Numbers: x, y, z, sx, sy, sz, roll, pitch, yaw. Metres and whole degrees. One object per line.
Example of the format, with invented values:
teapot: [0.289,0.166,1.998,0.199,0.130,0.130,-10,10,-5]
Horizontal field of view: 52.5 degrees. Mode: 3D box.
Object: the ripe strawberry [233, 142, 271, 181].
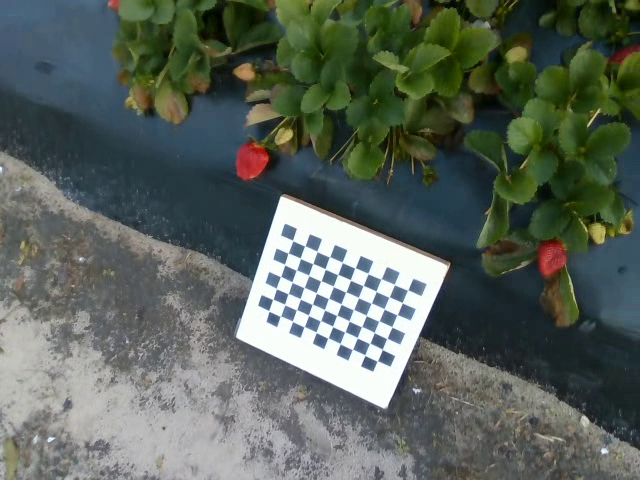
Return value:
ripe strawberry: [-0.127,-0.141,1.147,0.067,0.075,0.039,28,19,12]
